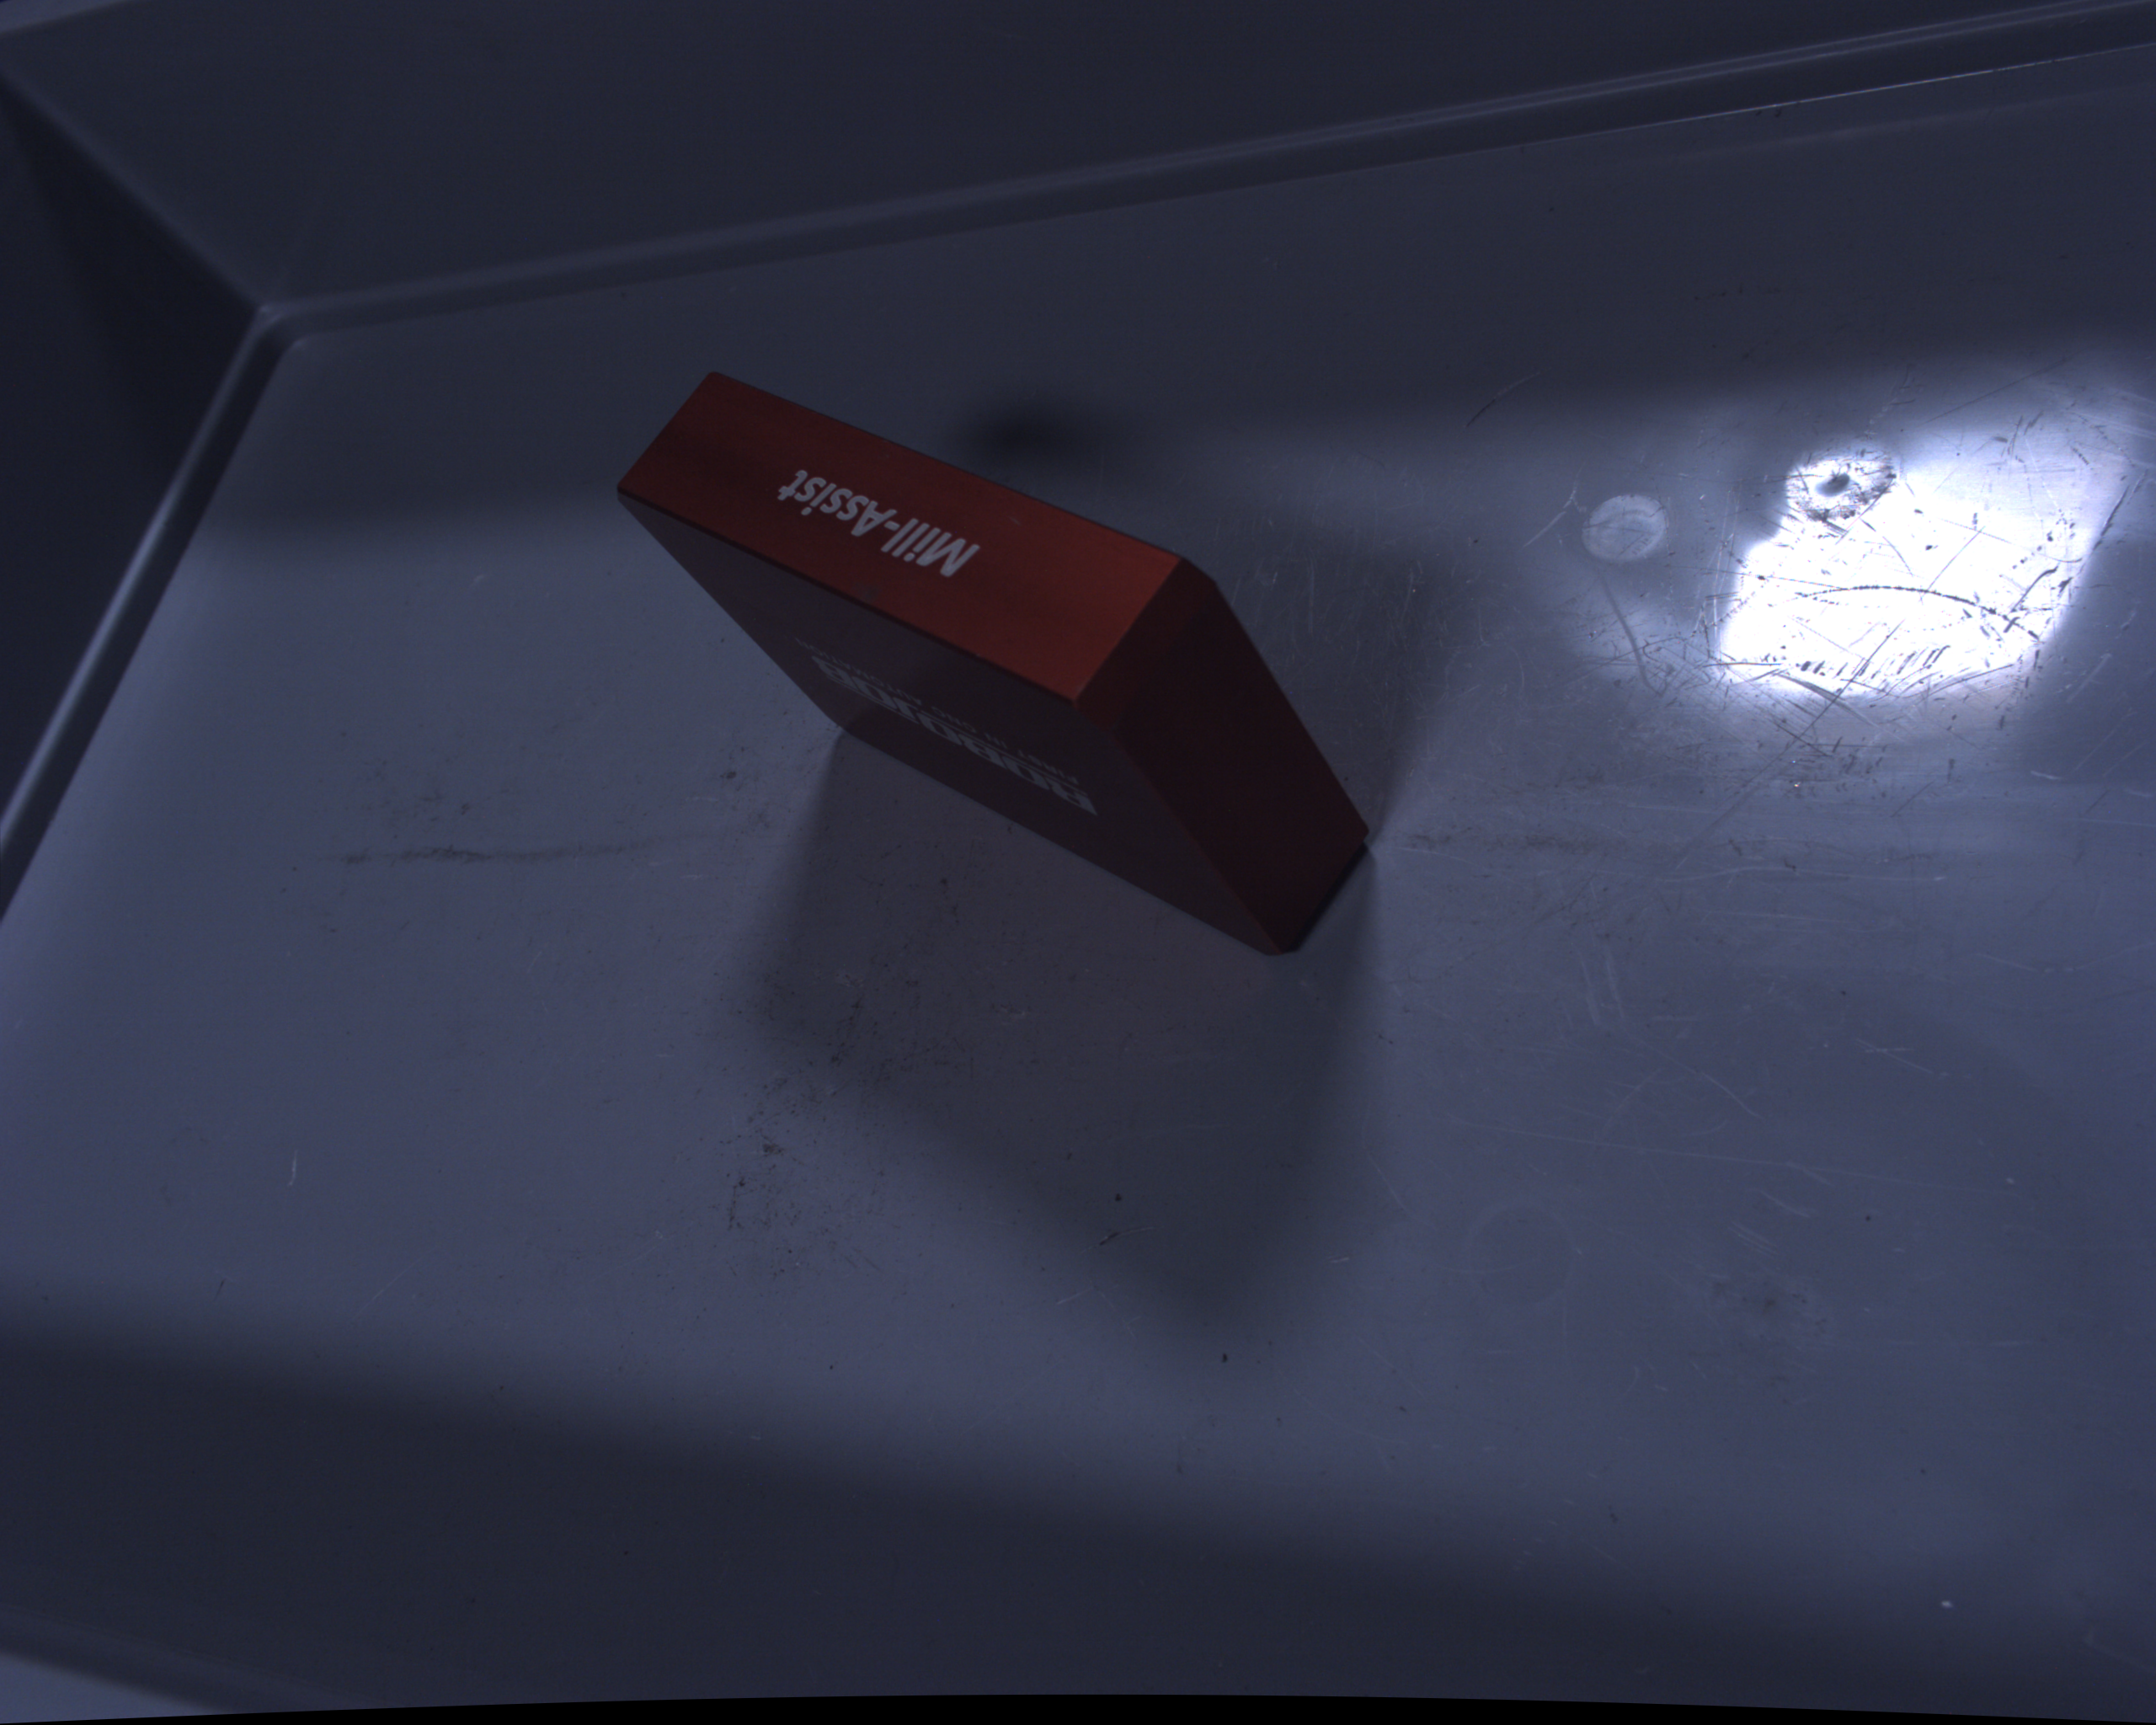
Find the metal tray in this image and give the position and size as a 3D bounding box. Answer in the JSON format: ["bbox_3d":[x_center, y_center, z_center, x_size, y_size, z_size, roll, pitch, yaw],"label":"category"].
[{"bbox_3d":[-0.017,-0.038,0.391,0.130,0.090,0.030,28,77,36],"label":"metal tray"}]
